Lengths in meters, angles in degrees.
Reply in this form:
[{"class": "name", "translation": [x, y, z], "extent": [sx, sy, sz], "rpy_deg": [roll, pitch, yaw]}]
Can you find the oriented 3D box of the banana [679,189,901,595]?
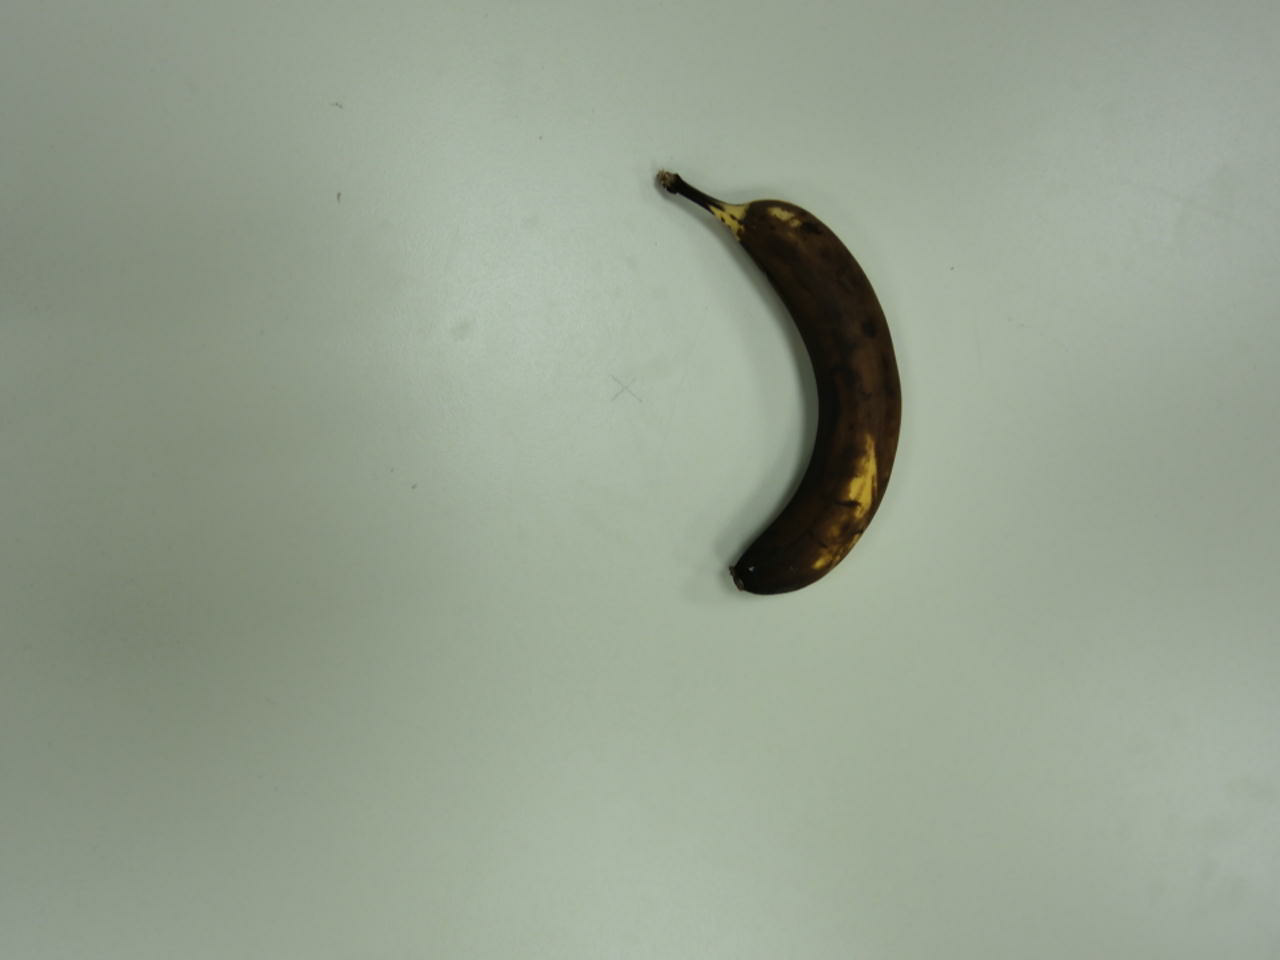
[{"class": "banana", "translation": [0.070, -0.047, 0.436], "extent": [0.091, 0.034, 0.188], "rpy_deg": [-9, 93, -11]}]
